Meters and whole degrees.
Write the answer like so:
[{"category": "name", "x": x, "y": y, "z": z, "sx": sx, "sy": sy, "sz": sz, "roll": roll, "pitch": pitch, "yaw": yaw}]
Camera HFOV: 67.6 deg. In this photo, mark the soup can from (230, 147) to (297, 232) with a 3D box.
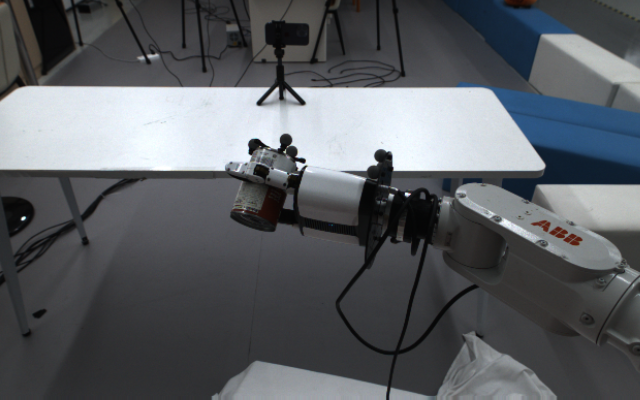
[{"category": "soup can", "x": -0.080, "y": -0.015, "z": 0.681, "sx": 0.067, "sy": 0.067, "sz": 0.101, "roll": 12, "pitch": 71, "yaw": 14}]
